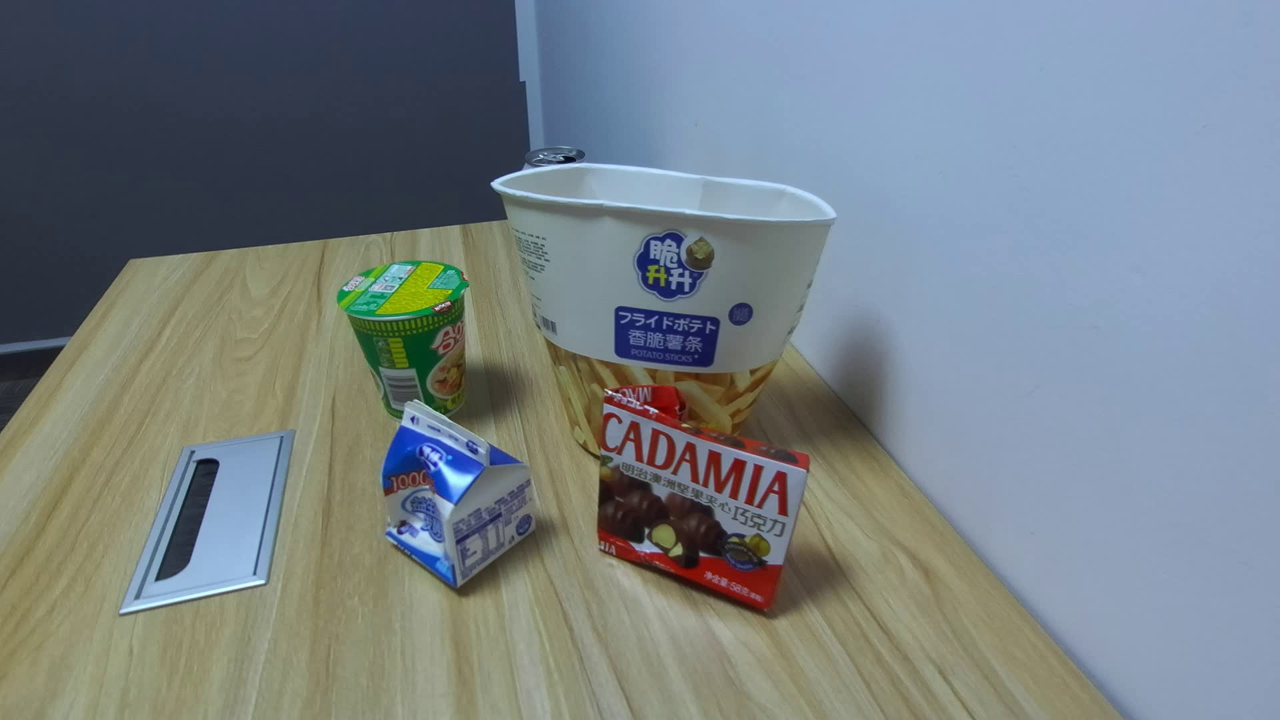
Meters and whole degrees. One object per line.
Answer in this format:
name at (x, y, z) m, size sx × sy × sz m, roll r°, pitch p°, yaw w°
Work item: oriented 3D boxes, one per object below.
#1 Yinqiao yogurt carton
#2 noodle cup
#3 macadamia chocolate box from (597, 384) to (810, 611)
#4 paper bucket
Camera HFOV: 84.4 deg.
Yinqiao yogurt carton at (-0.119, 0.078, 0.457) m, size 0.077 × 0.094 × 0.071 m, roll 22°, pitch 32°, yaw 30°
noodle cup at (-0.184, -0.010, 0.576) m, size 0.097 × 0.110 × 0.097 m, roll 1°, pitch 32°, yaw 0°
macadamia chocolate box at (0.036, 0.081, 0.432) m, size 0.126 × 0.112 × 0.056 m, roll 17°, pitch 36°, yaw 24°
paper bucket at (0.011, -0.038, 0.532) m, size 0.218 × 0.199 × 0.147 m, roll -6°, pitch 33°, yaw -10°
